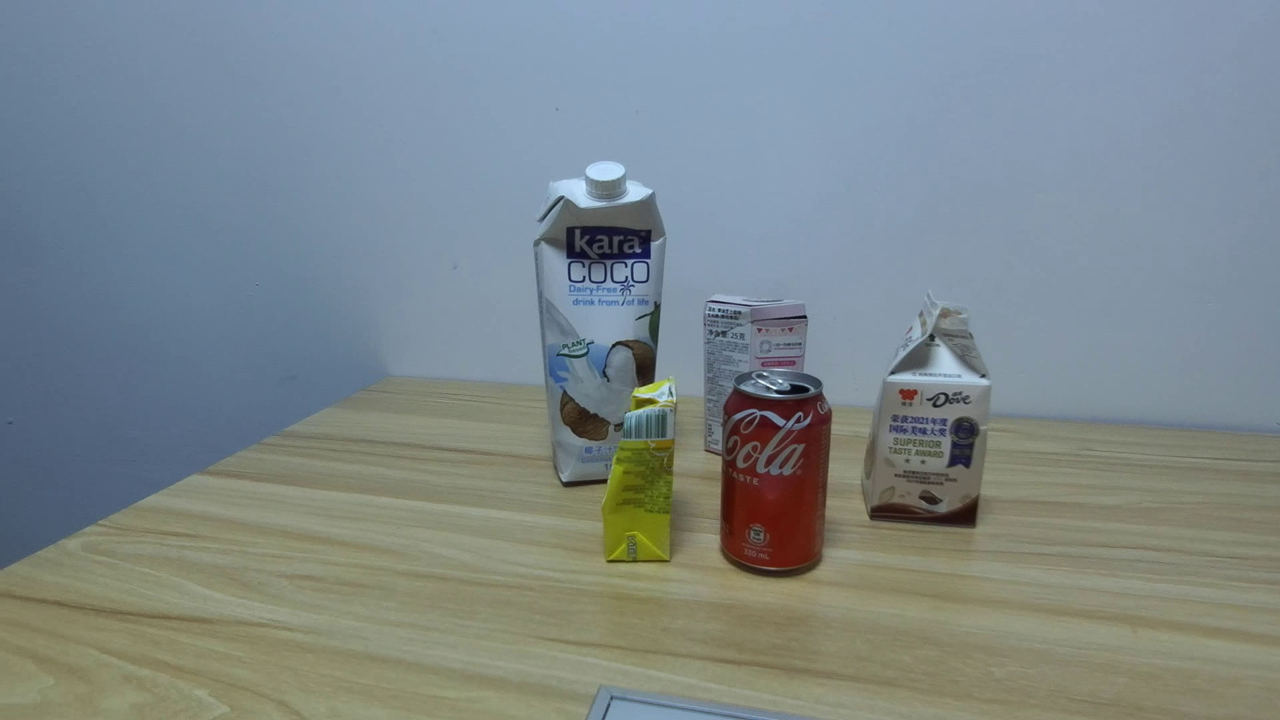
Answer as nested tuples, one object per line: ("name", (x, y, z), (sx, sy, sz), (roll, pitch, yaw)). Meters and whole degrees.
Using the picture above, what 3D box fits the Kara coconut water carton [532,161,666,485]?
("Kara coconut water carton", (-0.029, -0.028, 0.556), (0.100, 0.244, 0.071), (-4, 16, -12))

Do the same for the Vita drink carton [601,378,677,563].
("Vita drink carton", (-0.001, 0.068, 0.464), (0.046, 0.109, 0.071), (1, 15, 0))

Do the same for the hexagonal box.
("hexagonal box", (0.097, 0.013, 0.609), (0.092, 0.135, 0.084), (-5, 15, -17))

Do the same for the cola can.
("cola can", (0.085, 0.067, 0.444), (0.068, 0.120, 0.068), (-1, 17, 0))
